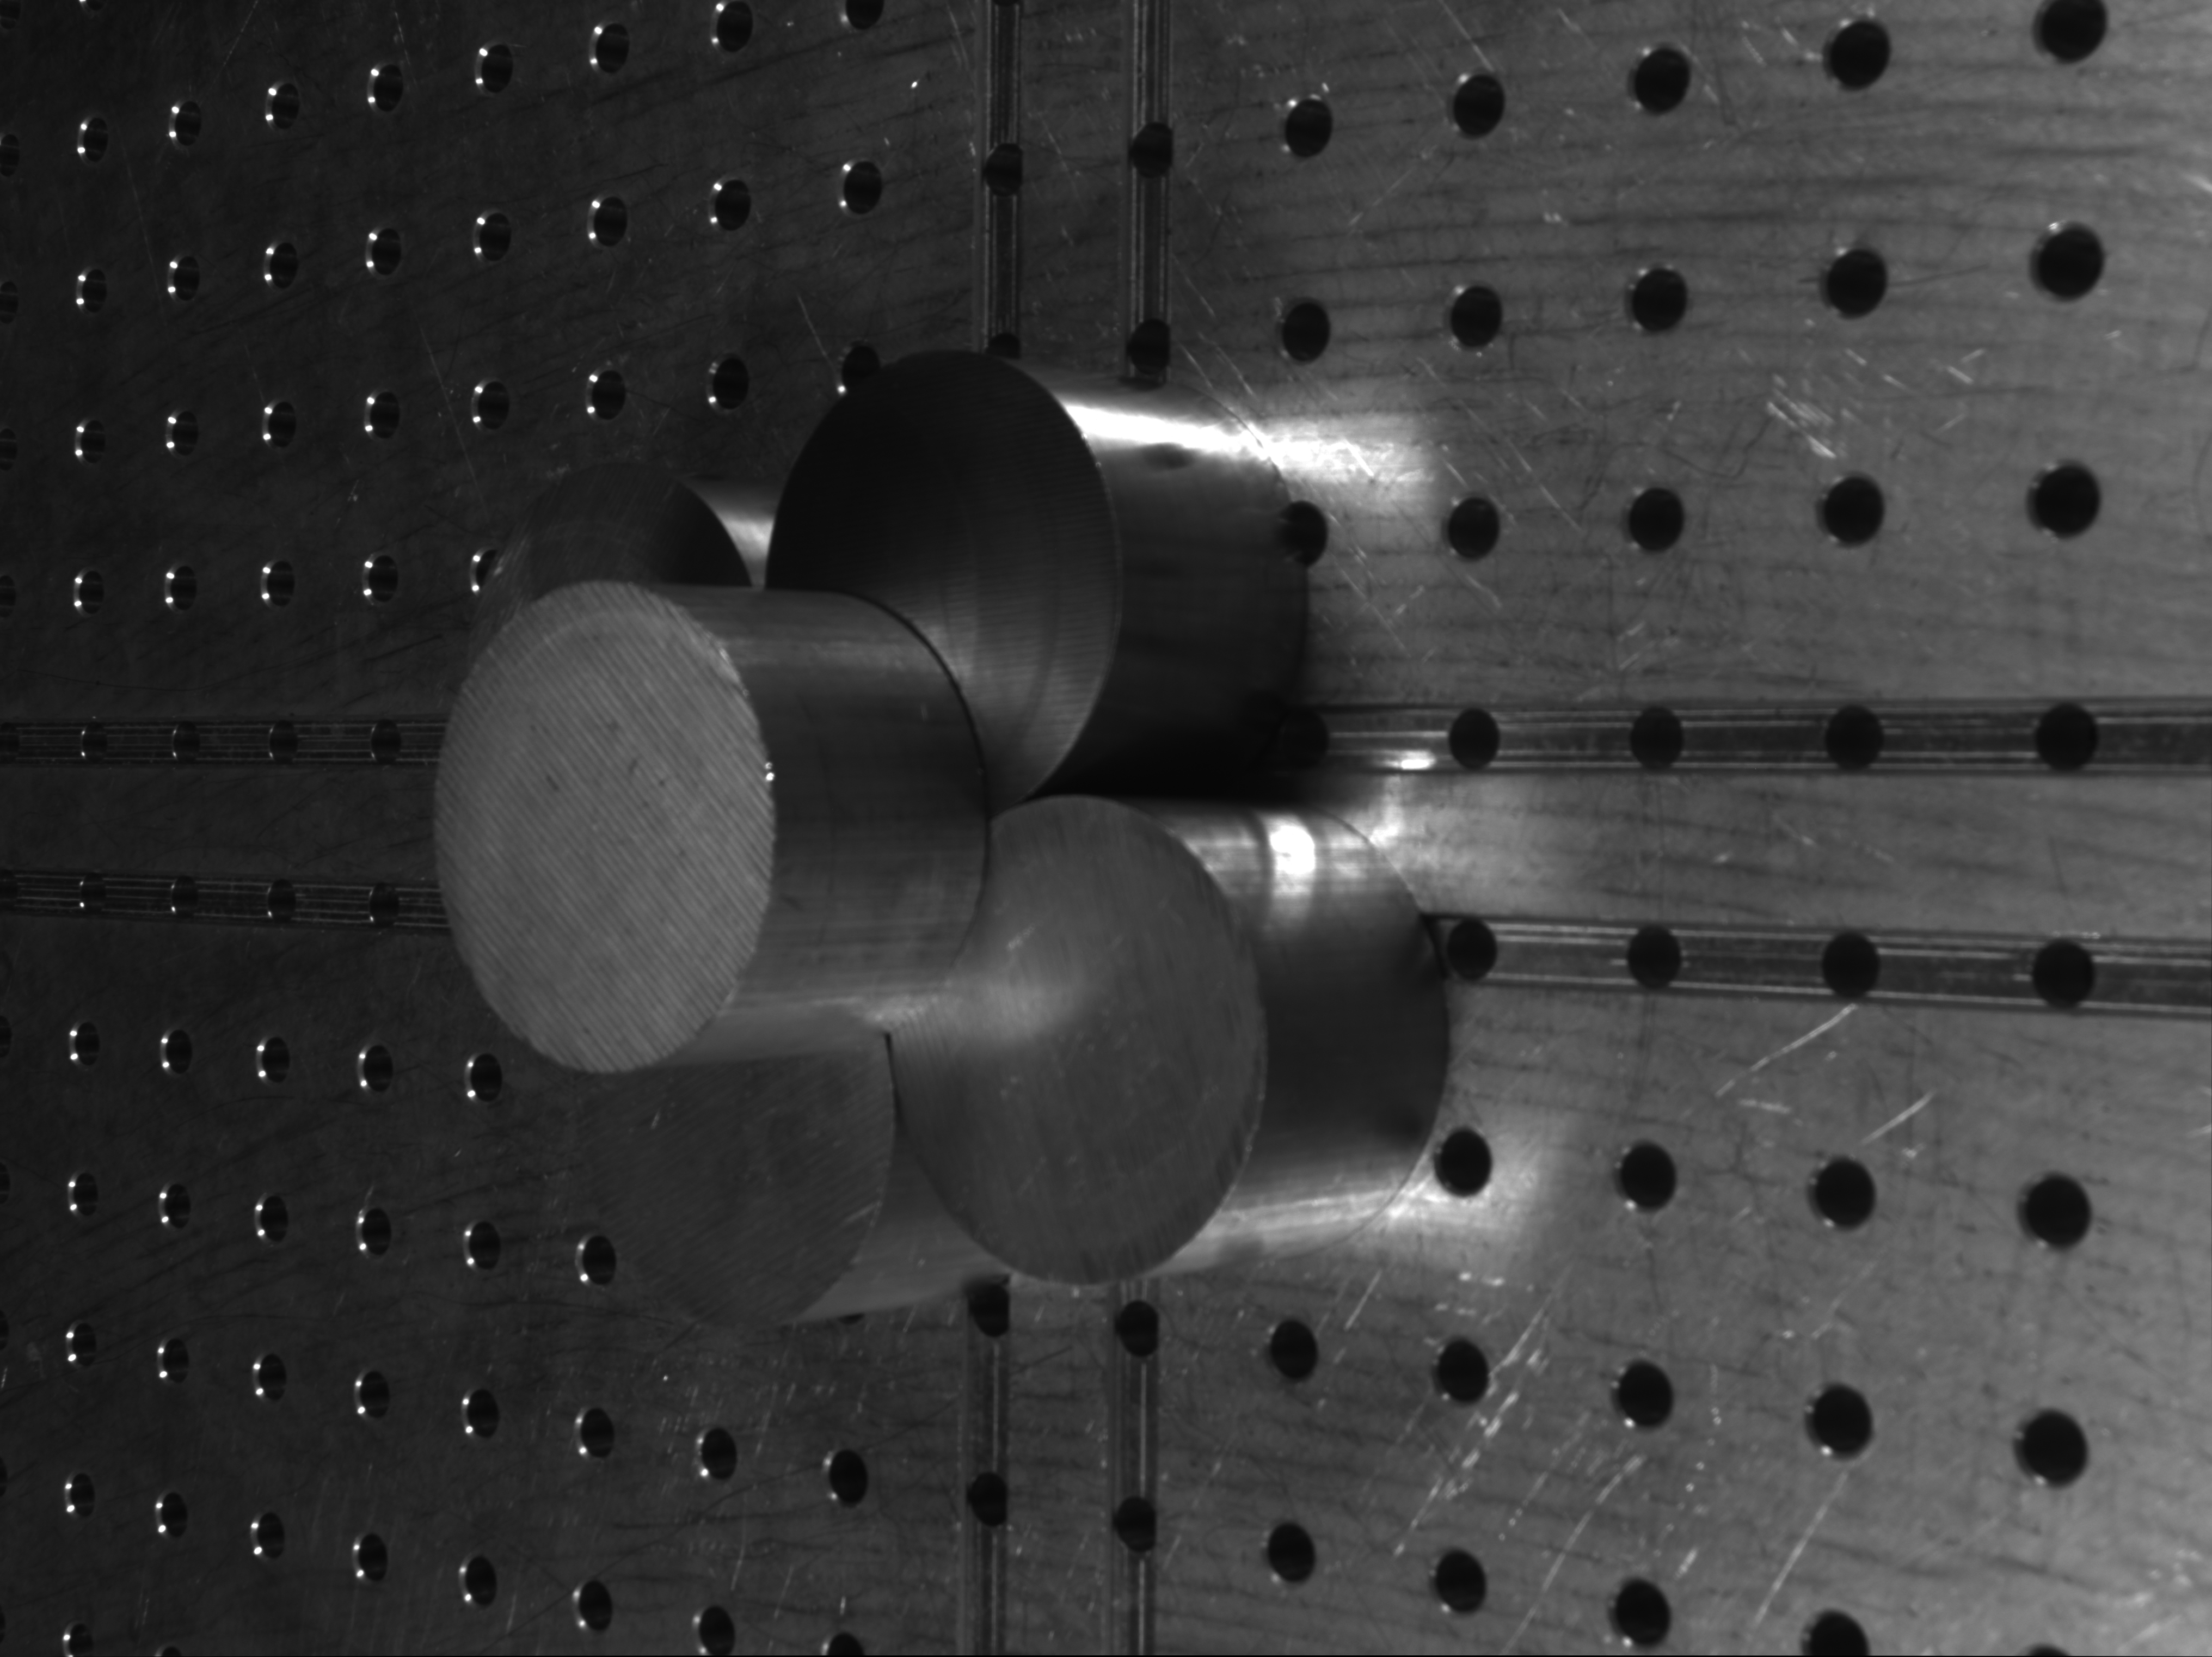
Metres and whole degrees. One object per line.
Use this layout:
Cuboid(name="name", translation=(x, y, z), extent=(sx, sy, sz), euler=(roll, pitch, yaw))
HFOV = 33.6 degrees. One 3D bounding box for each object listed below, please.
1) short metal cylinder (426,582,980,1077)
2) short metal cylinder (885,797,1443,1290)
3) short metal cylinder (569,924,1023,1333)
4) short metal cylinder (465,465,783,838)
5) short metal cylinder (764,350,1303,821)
Cuboid(name="short metal cylinder", translation=(-0.068, 0.000, 0.611), extent=(0.080, 0.050, 0.080), euler=(1, 92, 39))
Cuboid(name="short metal cylinder", translation=(0.009, 0.035, 0.615), extent=(0.080, 0.050, 0.080), euler=(0, 90, 39))
Cuboid(name="short metal cylinder", translation=(-0.052, 0.049, 0.664), extent=(0.080, 0.050, 0.080), euler=(0, 90, 39))
Cuboid(name="short metal cylinder", translation=(-0.075, -0.026, 0.683), extent=(0.080, 0.050, 0.080), euler=(0, 90, 39))
Cuboid(name="short metal cylinder", translation=(-0.013, -0.040, 0.633), extent=(0.080, 0.050, 0.080), euler=(0, 90, 39))
